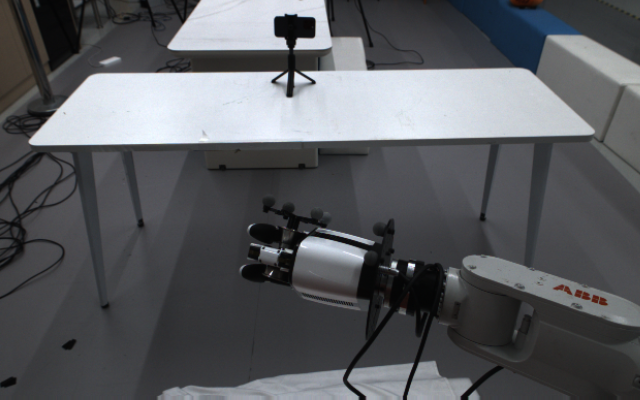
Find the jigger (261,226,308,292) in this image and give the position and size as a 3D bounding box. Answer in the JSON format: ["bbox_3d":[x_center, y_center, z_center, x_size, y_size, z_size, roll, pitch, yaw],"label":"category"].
[{"bbox_3d":[-0.044,0.072,0.643,0.043,0.071,0.043,16,-7,2],"label":"jigger"}]
